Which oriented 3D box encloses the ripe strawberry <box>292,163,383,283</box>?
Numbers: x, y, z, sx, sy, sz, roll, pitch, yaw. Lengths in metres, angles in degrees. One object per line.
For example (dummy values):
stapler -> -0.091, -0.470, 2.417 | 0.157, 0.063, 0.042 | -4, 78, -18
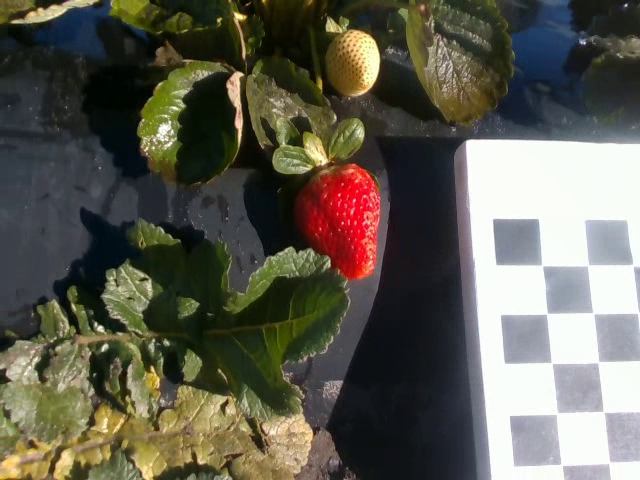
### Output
ripe strawberry -> 0.013, -0.008, 0.284 | 0.048, 0.069, 0.040 | -19, -14, -7
